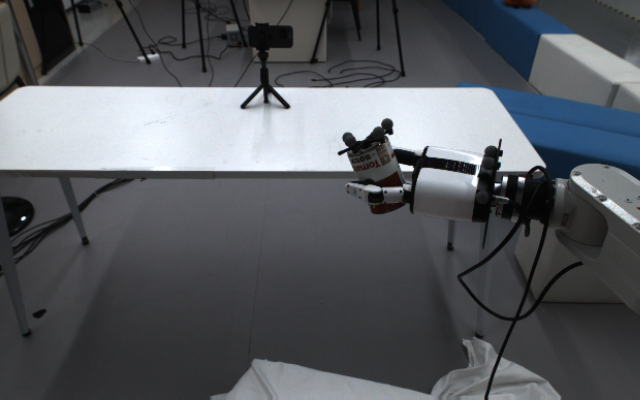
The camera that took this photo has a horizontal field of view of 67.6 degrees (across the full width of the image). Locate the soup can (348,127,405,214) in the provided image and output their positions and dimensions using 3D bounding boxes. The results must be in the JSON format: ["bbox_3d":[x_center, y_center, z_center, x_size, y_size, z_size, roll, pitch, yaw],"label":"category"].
[{"bbox_3d":[0.092,-0.038,0.736,0.067,0.101,0.067,-23,16,7],"label":"soup can"}]
